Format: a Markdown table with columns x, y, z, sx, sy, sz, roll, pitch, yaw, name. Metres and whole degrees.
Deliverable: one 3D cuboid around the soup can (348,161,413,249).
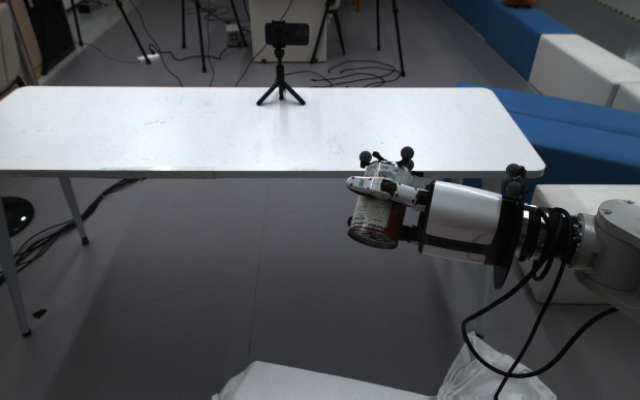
| x | y | z | sx | sy | sz | roll | pitch | yaw | name |
| --- | --- | --- | --- | --- | --- | --- | --- | --- | --- |
| 0.084 | 0.006 | 0.647 | 0.067 | 0.067 | 0.101 | 12 | 70 | 14 | soup can |
